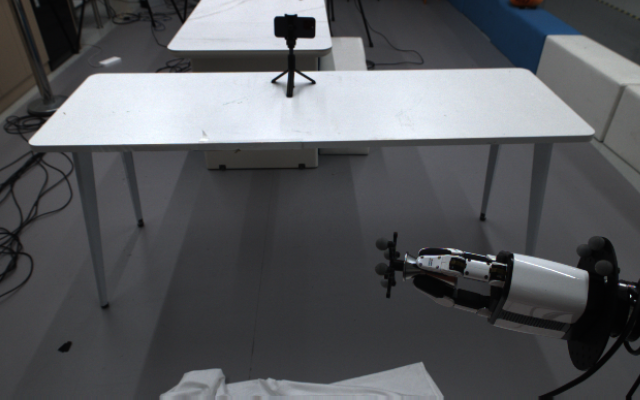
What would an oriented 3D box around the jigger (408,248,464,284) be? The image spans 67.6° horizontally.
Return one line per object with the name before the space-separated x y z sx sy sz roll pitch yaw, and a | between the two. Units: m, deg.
jigger | 0.152 0.086 0.634 0.071 0.043 0.043 4 34 17
